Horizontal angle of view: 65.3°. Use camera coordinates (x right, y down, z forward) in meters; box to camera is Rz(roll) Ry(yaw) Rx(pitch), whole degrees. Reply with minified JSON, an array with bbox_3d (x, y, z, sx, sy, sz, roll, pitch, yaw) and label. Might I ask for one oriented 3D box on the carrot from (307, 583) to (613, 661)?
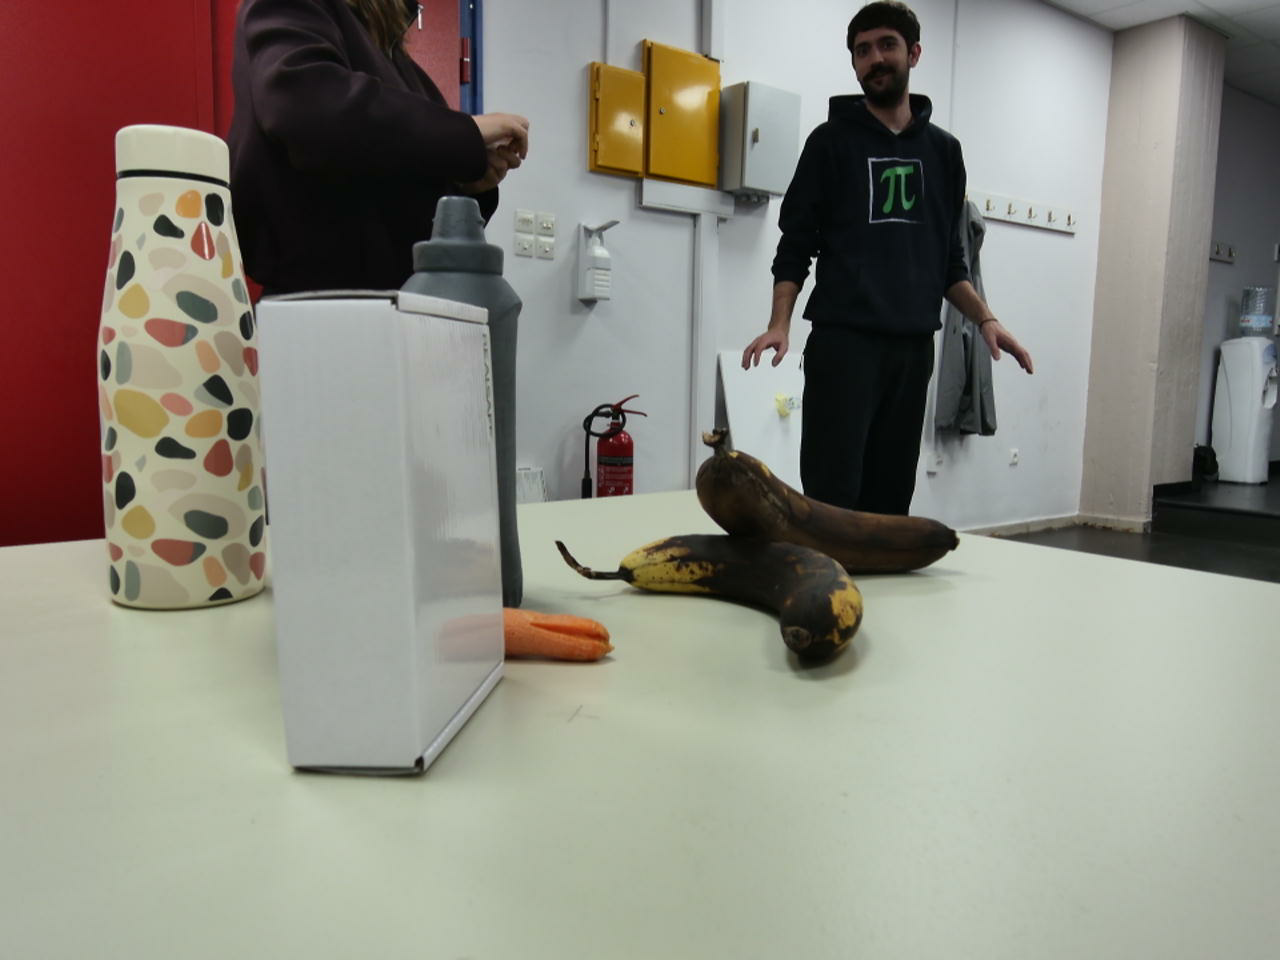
[{"bbox_3d":[-0.080,0.062,0.440,0.136,0.032,0.030,1,4,8],"label":"carrot"}]
